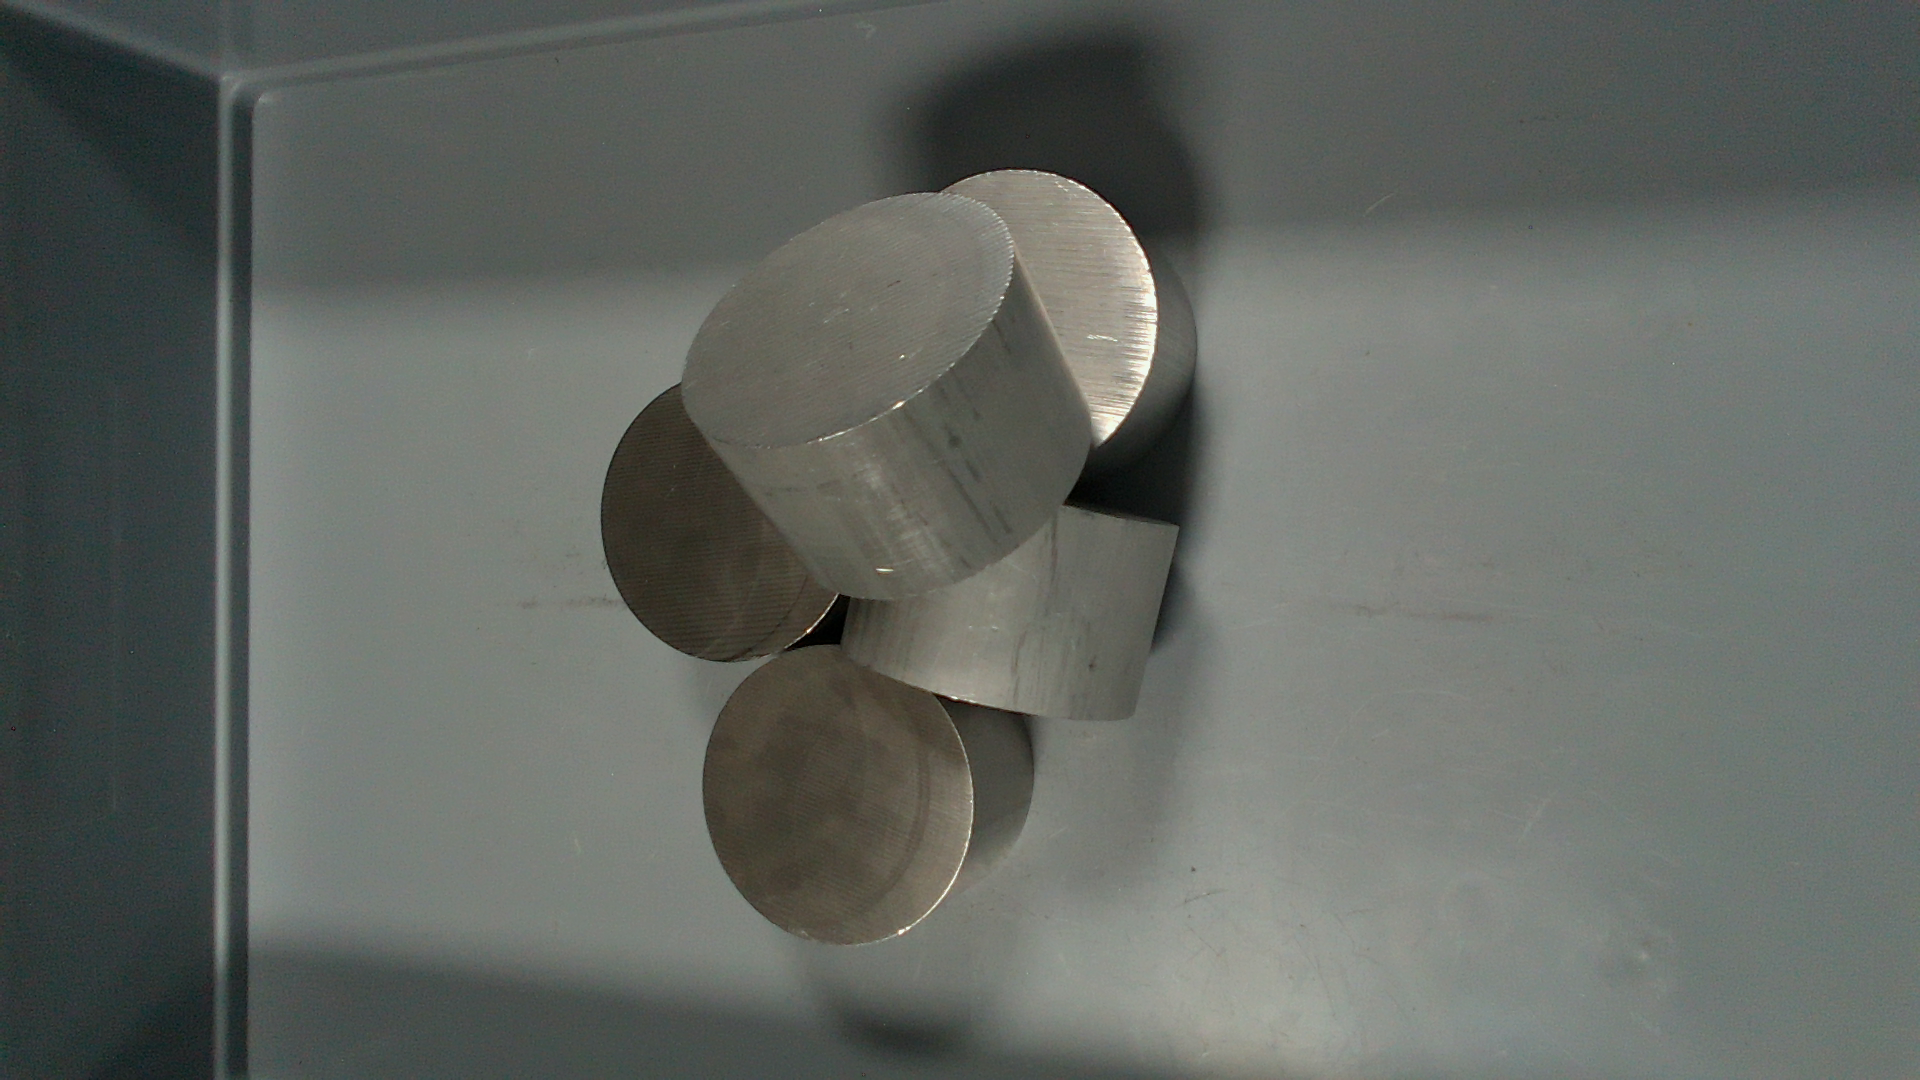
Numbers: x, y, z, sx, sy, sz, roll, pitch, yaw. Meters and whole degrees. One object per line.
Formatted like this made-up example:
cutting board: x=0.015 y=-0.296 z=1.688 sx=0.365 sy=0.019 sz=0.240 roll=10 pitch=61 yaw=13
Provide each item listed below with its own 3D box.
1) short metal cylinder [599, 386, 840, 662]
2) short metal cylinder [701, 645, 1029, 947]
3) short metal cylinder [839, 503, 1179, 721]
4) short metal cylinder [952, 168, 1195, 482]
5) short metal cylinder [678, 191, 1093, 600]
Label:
short metal cylinder: x=-0.057 y=-0.007 z=0.401 sx=0.080 sy=0.050 sz=0.080 roll=0 pitch=90 yaw=20
short metal cylinder: x=-0.026 y=0.068 z=0.390 sx=0.080 sy=0.050 sz=0.080 roll=0 pitch=90 yaw=20
short metal cylinder: x=0.013 y=0.012 z=0.361 sx=0.080 sy=0.080 sz=0.050 roll=14 pitch=95 yaw=19
short metal cylinder: x=0.020 y=-0.055 z=0.374 sx=0.080 sy=0.050 sz=0.080 roll=0 pitch=90 yaw=20
short metal cylinder: x=-0.016 y=-0.033 z=0.312 sx=0.080 sy=0.050 sz=0.080 roll=-15 pitch=45 yaw=16
